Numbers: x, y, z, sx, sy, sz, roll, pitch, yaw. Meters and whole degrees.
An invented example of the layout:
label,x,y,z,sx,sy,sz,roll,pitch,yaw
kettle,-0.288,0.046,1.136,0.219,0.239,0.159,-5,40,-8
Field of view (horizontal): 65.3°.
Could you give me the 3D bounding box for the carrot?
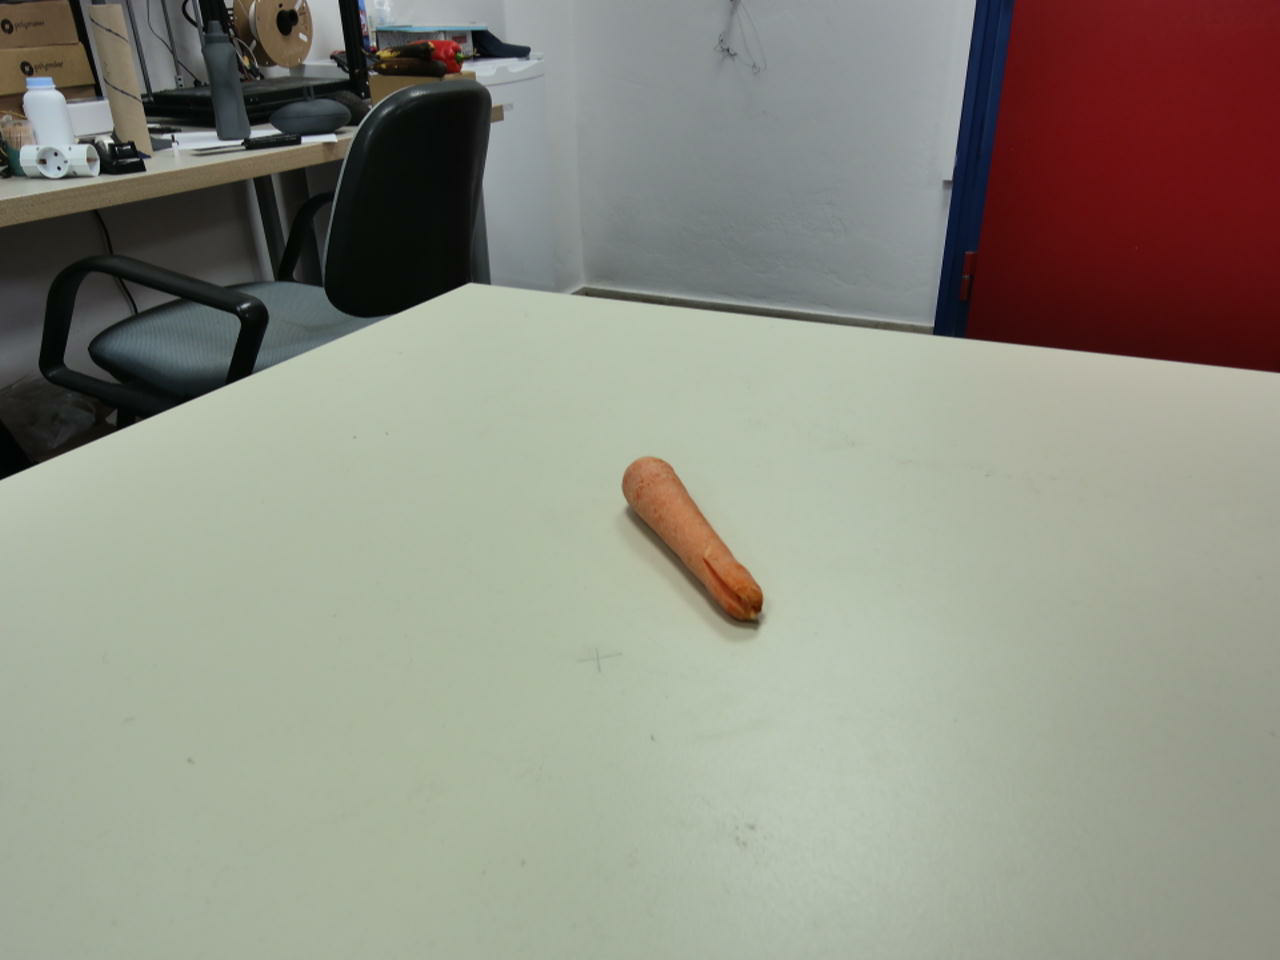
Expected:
label,x,y,z,sx,sy,sz,roll,pitch,yaw
carrot,0.022,0.023,0.471,0.030,0.032,0.136,-8,25,-18
